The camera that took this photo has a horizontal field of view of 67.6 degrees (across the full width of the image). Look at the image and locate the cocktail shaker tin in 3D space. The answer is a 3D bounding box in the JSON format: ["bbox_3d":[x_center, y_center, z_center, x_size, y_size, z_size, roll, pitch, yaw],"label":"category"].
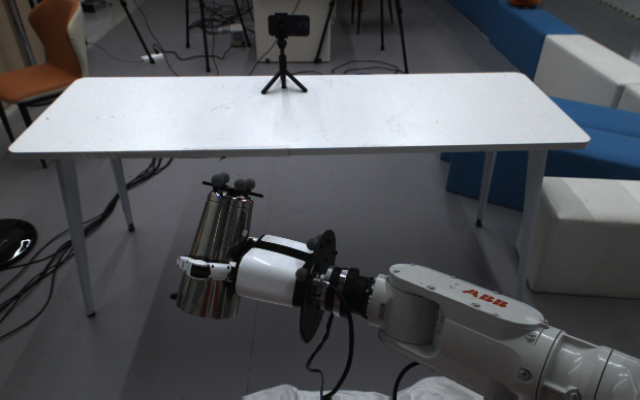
[{"bbox_3d":[-0.146,0.076,0.706,0.093,0.170,0.093,13,5,-1],"label":"cocktail shaker tin"}]
